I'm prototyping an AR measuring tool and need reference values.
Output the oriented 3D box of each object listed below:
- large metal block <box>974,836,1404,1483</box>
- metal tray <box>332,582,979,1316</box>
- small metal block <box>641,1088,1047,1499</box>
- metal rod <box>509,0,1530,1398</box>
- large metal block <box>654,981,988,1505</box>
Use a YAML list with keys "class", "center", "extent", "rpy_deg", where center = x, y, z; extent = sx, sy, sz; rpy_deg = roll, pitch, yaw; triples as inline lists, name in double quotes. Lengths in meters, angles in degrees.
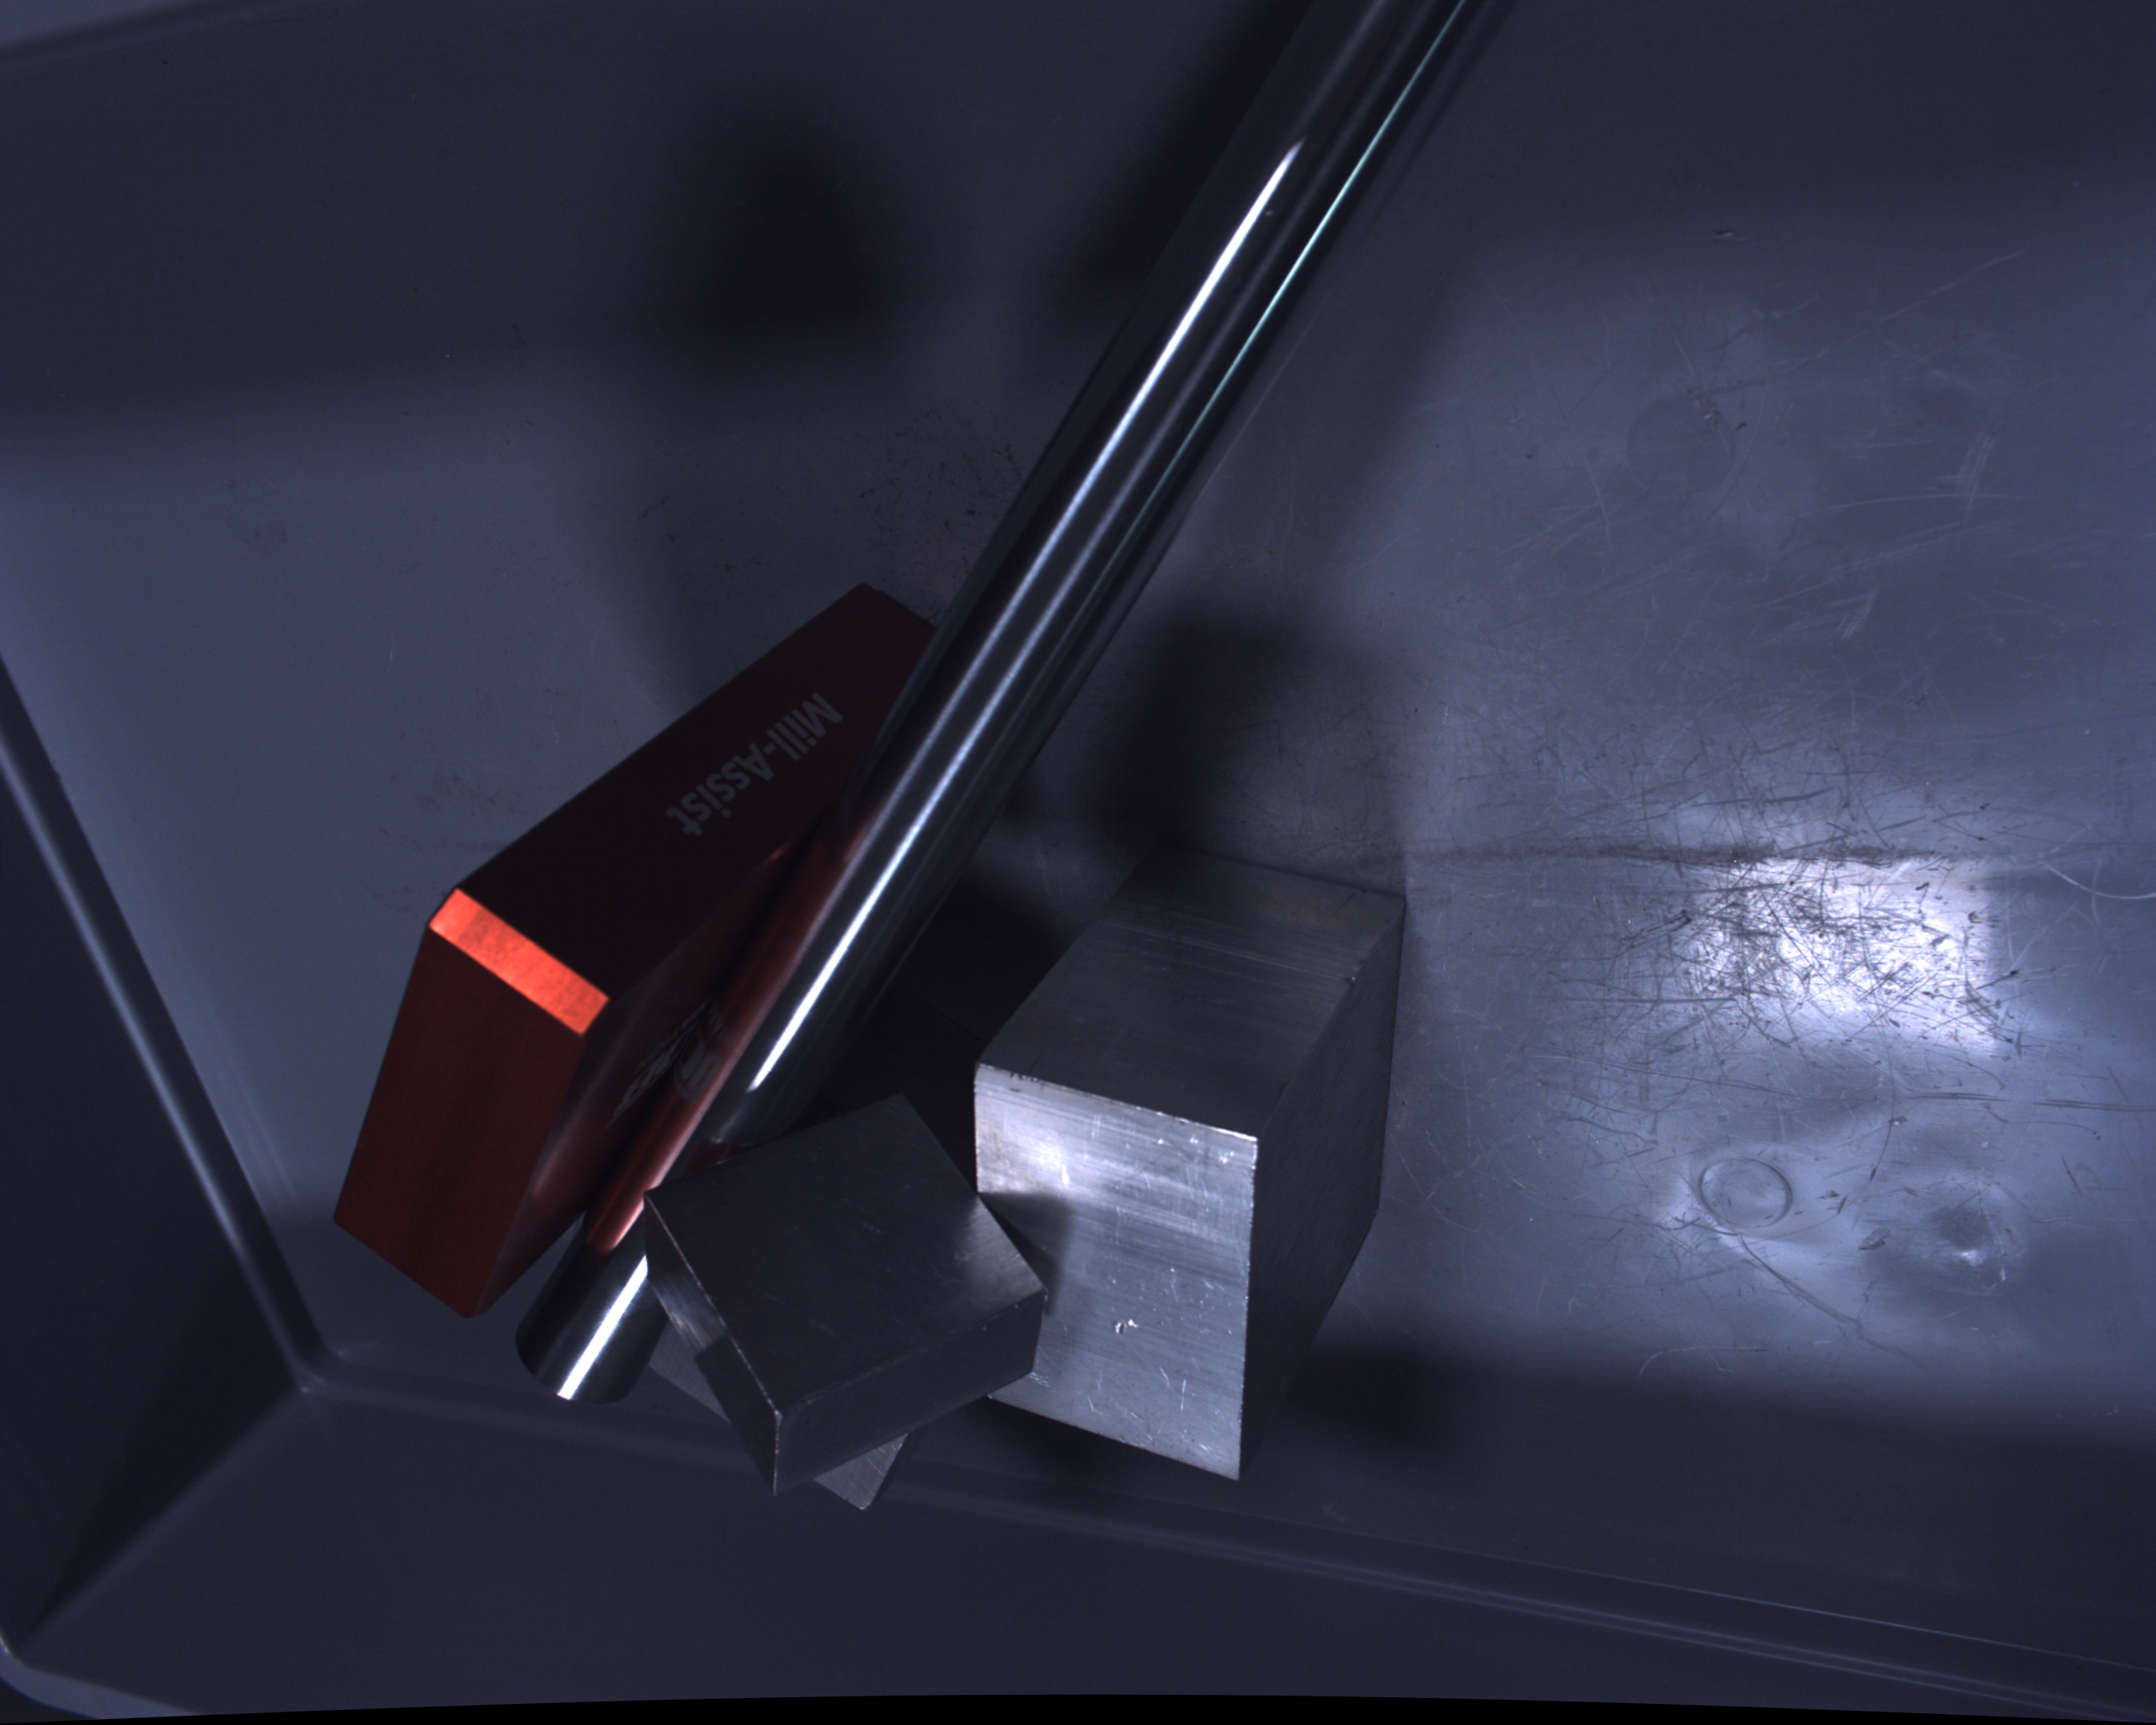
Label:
- class: "large metal block"
  center: [0.023, 0.053, 0.392]
  extent: [0.050, 0.080, 0.079]
  rpy_deg: [13, 124, 21]
- class: "metal tray"
  center: [-0.073, 0.012, 0.383]
  extent: [0.030, 0.131, 0.089]
  rpy_deg: [36, 130, 5]
- class: "small metal block"
  center: [-0.041, 0.073, 0.360]
  extent: [0.050, 0.050, 0.025]
  rpy_deg: [49, 146, 34]
- class: "metal rod"
  center: [-0.019, -0.022, 0.343]
  extent: [0.025, 0.025, 0.298]
  rpy_deg: [36, 112, 4]
- class: "large metal block"
  center: [-0.050, 0.073, 0.443]
  extent: [0.080, 0.080, 0.050]
  rpy_deg: [32, 128, 7]
